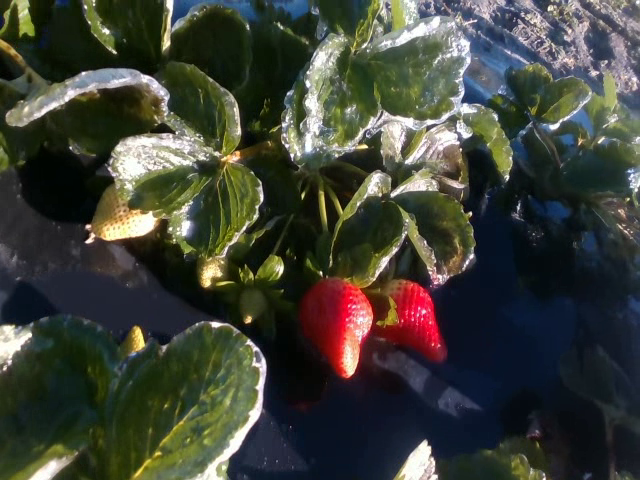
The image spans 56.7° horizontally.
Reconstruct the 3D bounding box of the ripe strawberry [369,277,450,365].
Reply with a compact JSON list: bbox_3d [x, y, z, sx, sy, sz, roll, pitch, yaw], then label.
[{"bbox_3d":[0.065,0.050,0.383,0.043,0.059,0.040,-36,3,-38],"label":"ripe strawberry"}]

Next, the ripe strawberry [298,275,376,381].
[{"bbox_3d":[0.017,0.055,0.358,0.052,0.070,0.040,25,-35,-37],"label":"ripe strawberry"}]
